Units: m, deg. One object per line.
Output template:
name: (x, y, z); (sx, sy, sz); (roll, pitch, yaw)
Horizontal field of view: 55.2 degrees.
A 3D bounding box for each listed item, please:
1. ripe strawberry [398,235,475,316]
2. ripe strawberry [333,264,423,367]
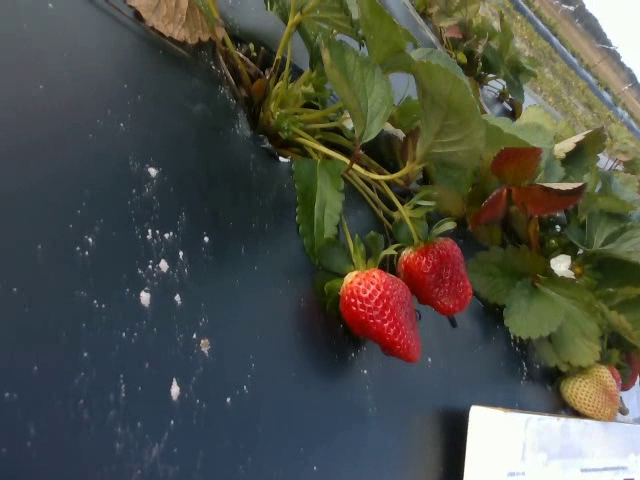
ripe strawberry: (0.076, 0.020, 0.365); (0.042, 0.053, 0.034); (-4, -33, -42)
ripe strawberry: (0.037, 0.040, 0.314); (0.050, 0.061, 0.045); (4, -41, -42)
